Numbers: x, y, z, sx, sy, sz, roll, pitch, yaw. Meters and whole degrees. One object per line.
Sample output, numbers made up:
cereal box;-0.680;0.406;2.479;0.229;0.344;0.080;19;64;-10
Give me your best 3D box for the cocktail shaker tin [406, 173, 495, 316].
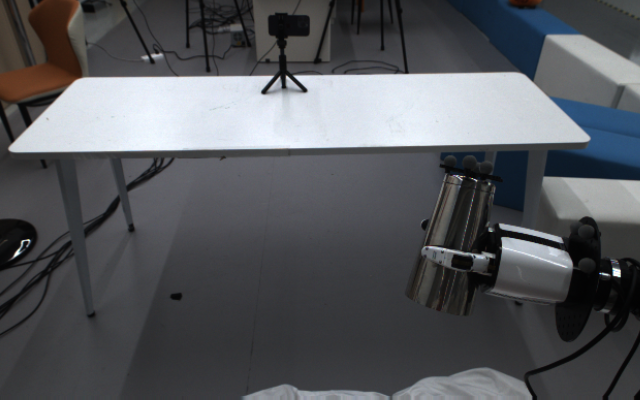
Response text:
cocktail shaker tin;0.180;0.055;0.645;0.093;0.170;0.093;13;4;-1
